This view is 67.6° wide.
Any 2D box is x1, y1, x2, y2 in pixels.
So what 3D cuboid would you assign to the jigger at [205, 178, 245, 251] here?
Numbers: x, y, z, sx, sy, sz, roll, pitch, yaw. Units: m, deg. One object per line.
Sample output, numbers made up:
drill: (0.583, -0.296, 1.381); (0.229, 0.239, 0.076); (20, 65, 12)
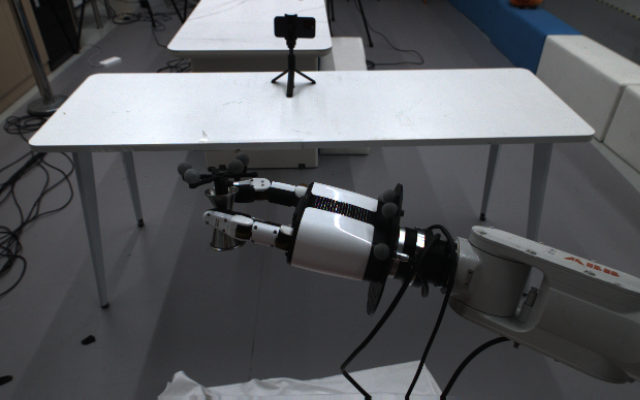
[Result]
jigger: (-0.113, 0.021, 0.577); (0.043, 0.071, 0.043); (-2, 19, 1)
